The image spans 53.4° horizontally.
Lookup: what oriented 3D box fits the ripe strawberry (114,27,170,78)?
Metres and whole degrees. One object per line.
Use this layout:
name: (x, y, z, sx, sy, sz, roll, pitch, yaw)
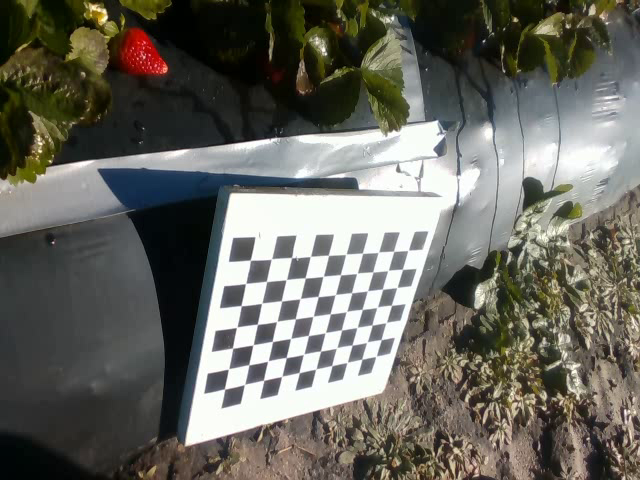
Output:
ripe strawberry: (-0.155, -0.159, 0.545, 0.058, 0.046, 0.042, 34, 0, -27)
